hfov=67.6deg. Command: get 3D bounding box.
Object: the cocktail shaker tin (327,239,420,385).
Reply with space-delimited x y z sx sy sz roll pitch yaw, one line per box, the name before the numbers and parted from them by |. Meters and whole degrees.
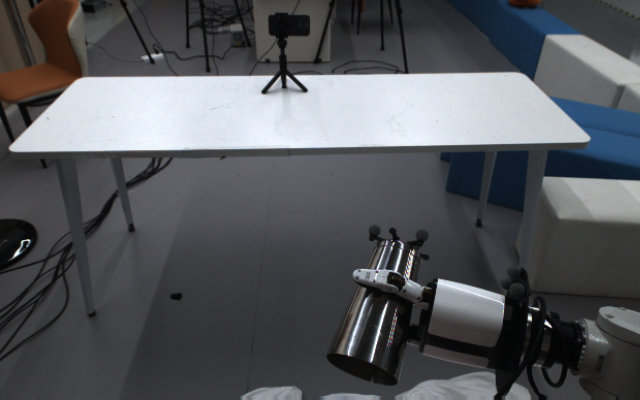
cocktail shaker tin | 0.081 0.139 0.630 0.093 0.093 0.170 13 57 15
